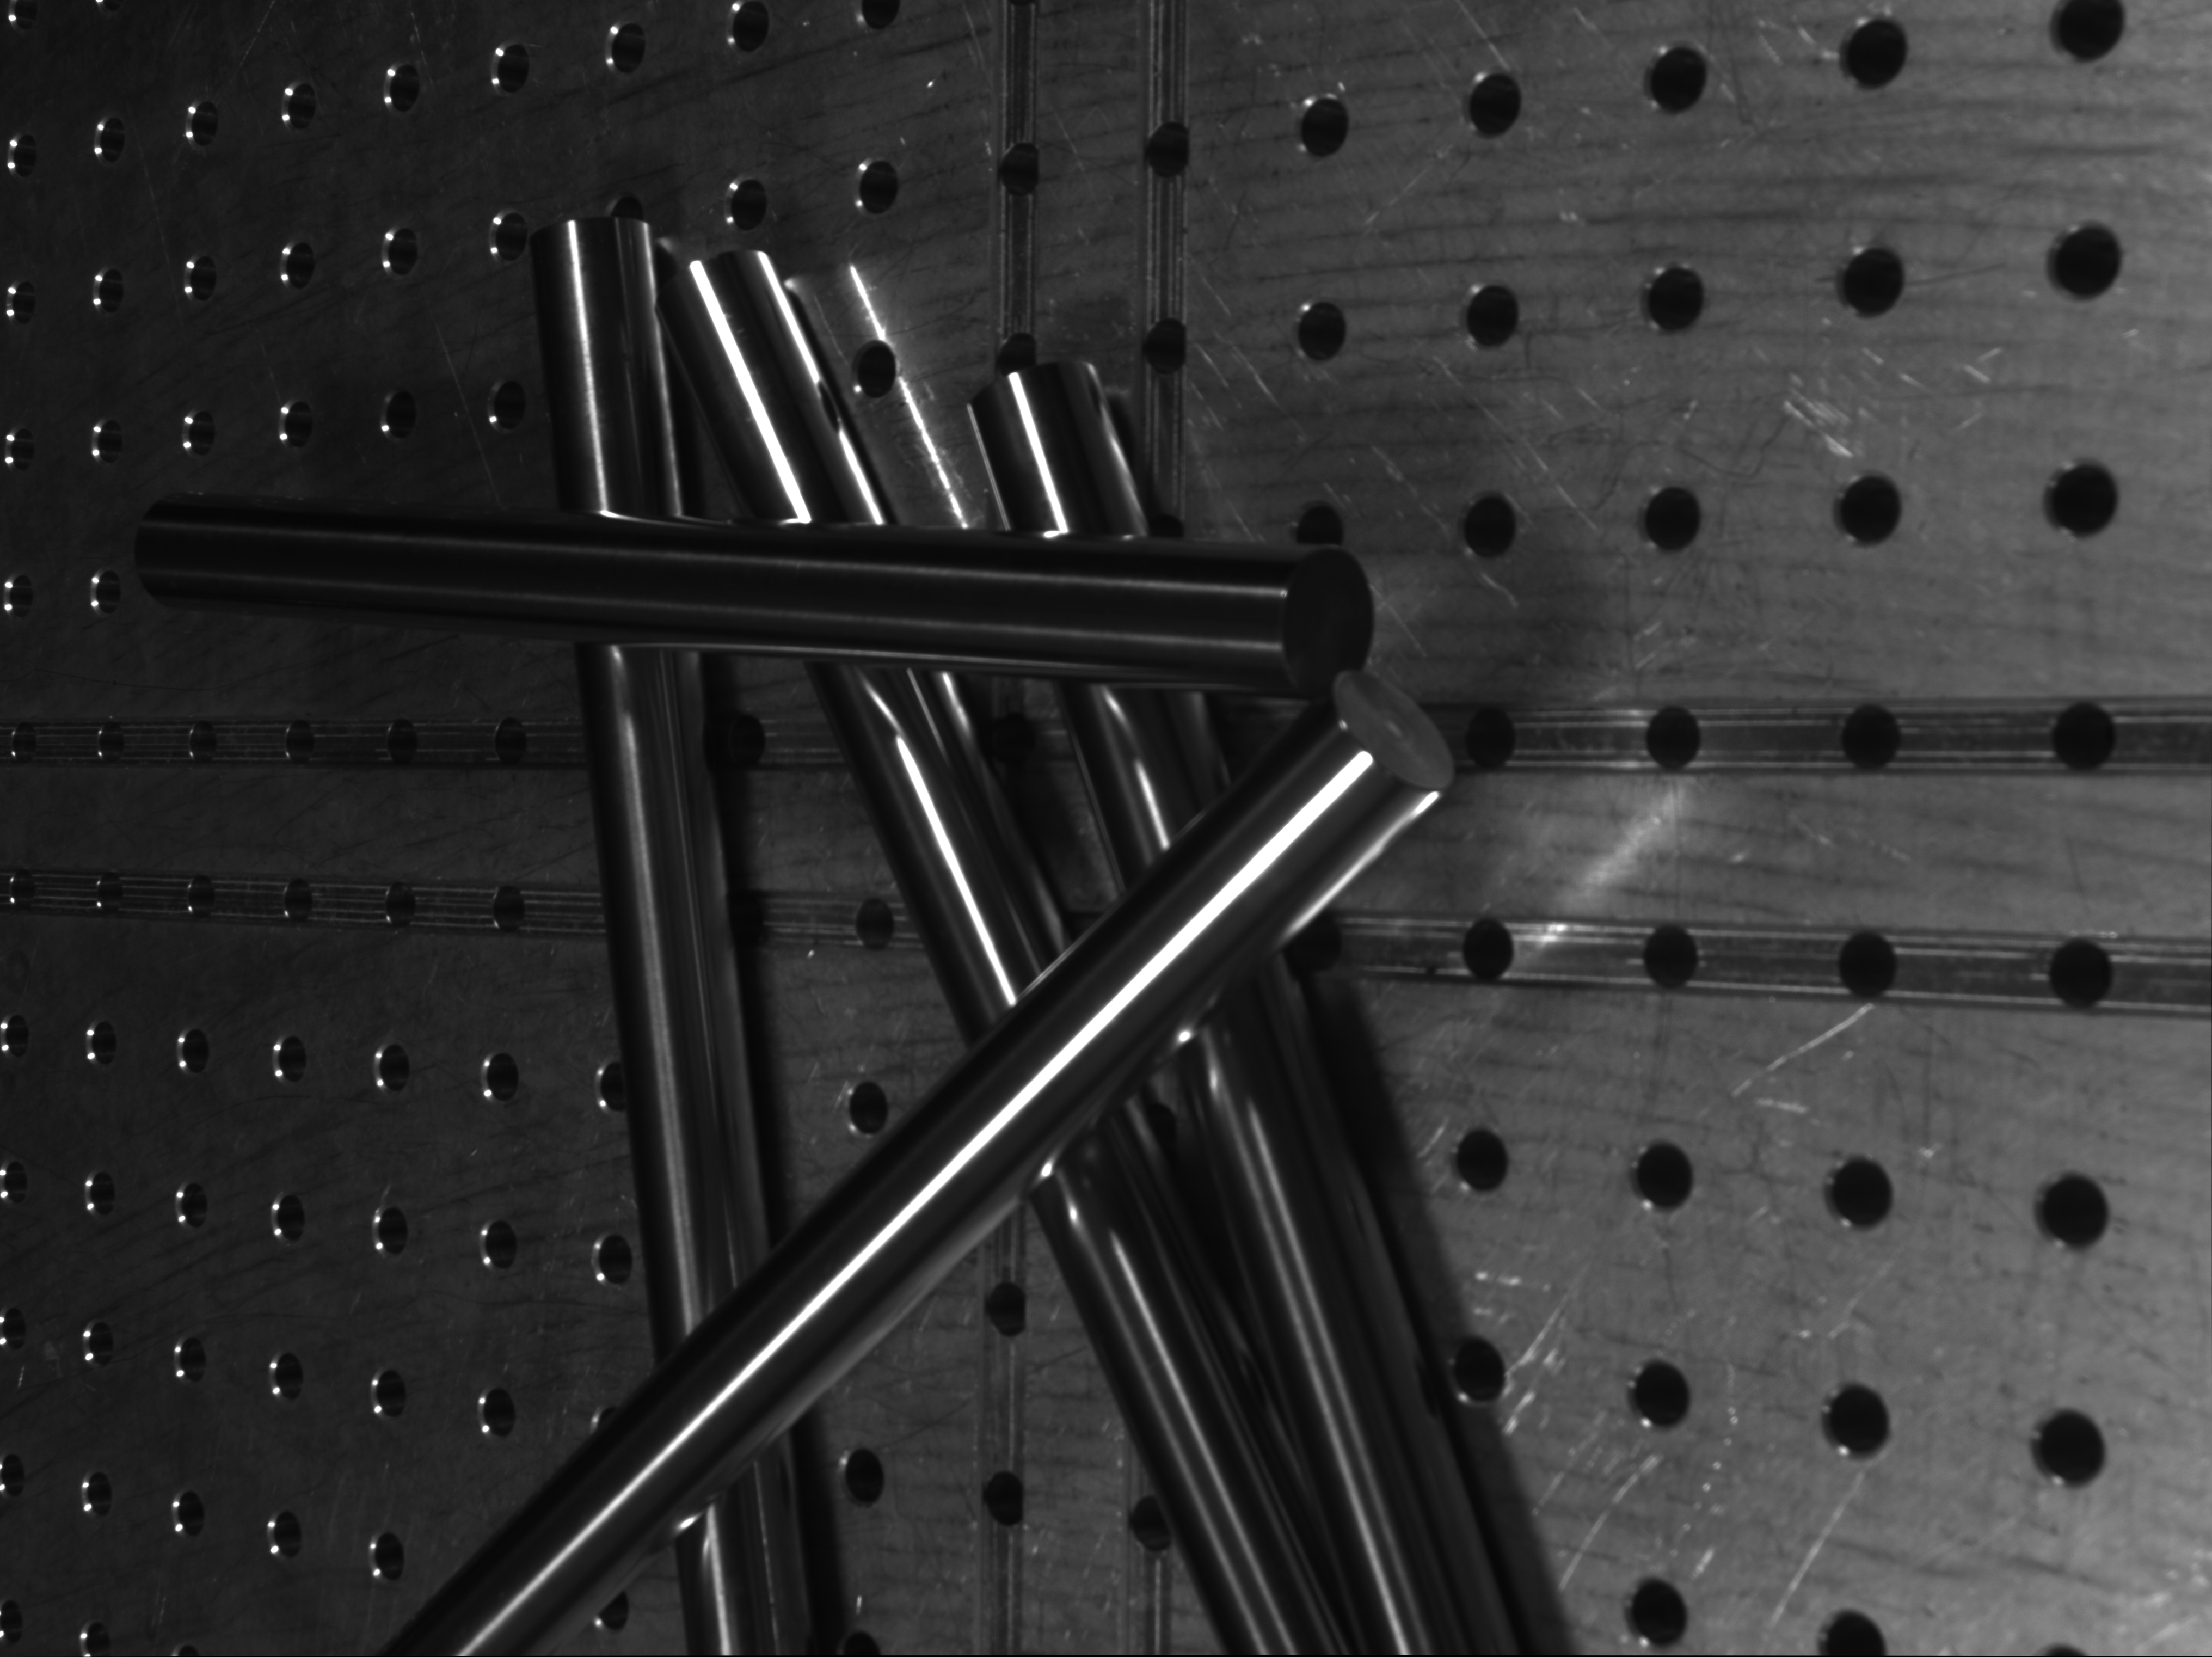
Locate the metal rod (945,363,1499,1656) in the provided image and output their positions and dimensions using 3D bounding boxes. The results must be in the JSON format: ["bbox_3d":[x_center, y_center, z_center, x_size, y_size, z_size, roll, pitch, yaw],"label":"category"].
[{"bbox_3d":[0.027,0.061,0.616,0.025,0.025,0.300,-28,72,36],"label":"metal rod"}]

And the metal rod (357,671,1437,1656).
[{"bbox_3d":[-0.049,0.078,0.646,0.300,0.025,0.025,-46,63,30],"label":"metal rod"}]

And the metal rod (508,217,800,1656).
[{"bbox_3d":[-0.087,0.030,0.710,0.025,0.025,0.300,-12,82,39],"label":"metal rod"}]

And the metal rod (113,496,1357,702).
[{"bbox_3d":[-0.083,-0.045,0.675,0.299,0.025,0.025,6,94,39],"label":"metal rod"}]

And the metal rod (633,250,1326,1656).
[{"bbox_3d":[-0.021,0.026,0.656,0.025,0.025,0.300,-37,67,33],"label":"metal rod"}]
